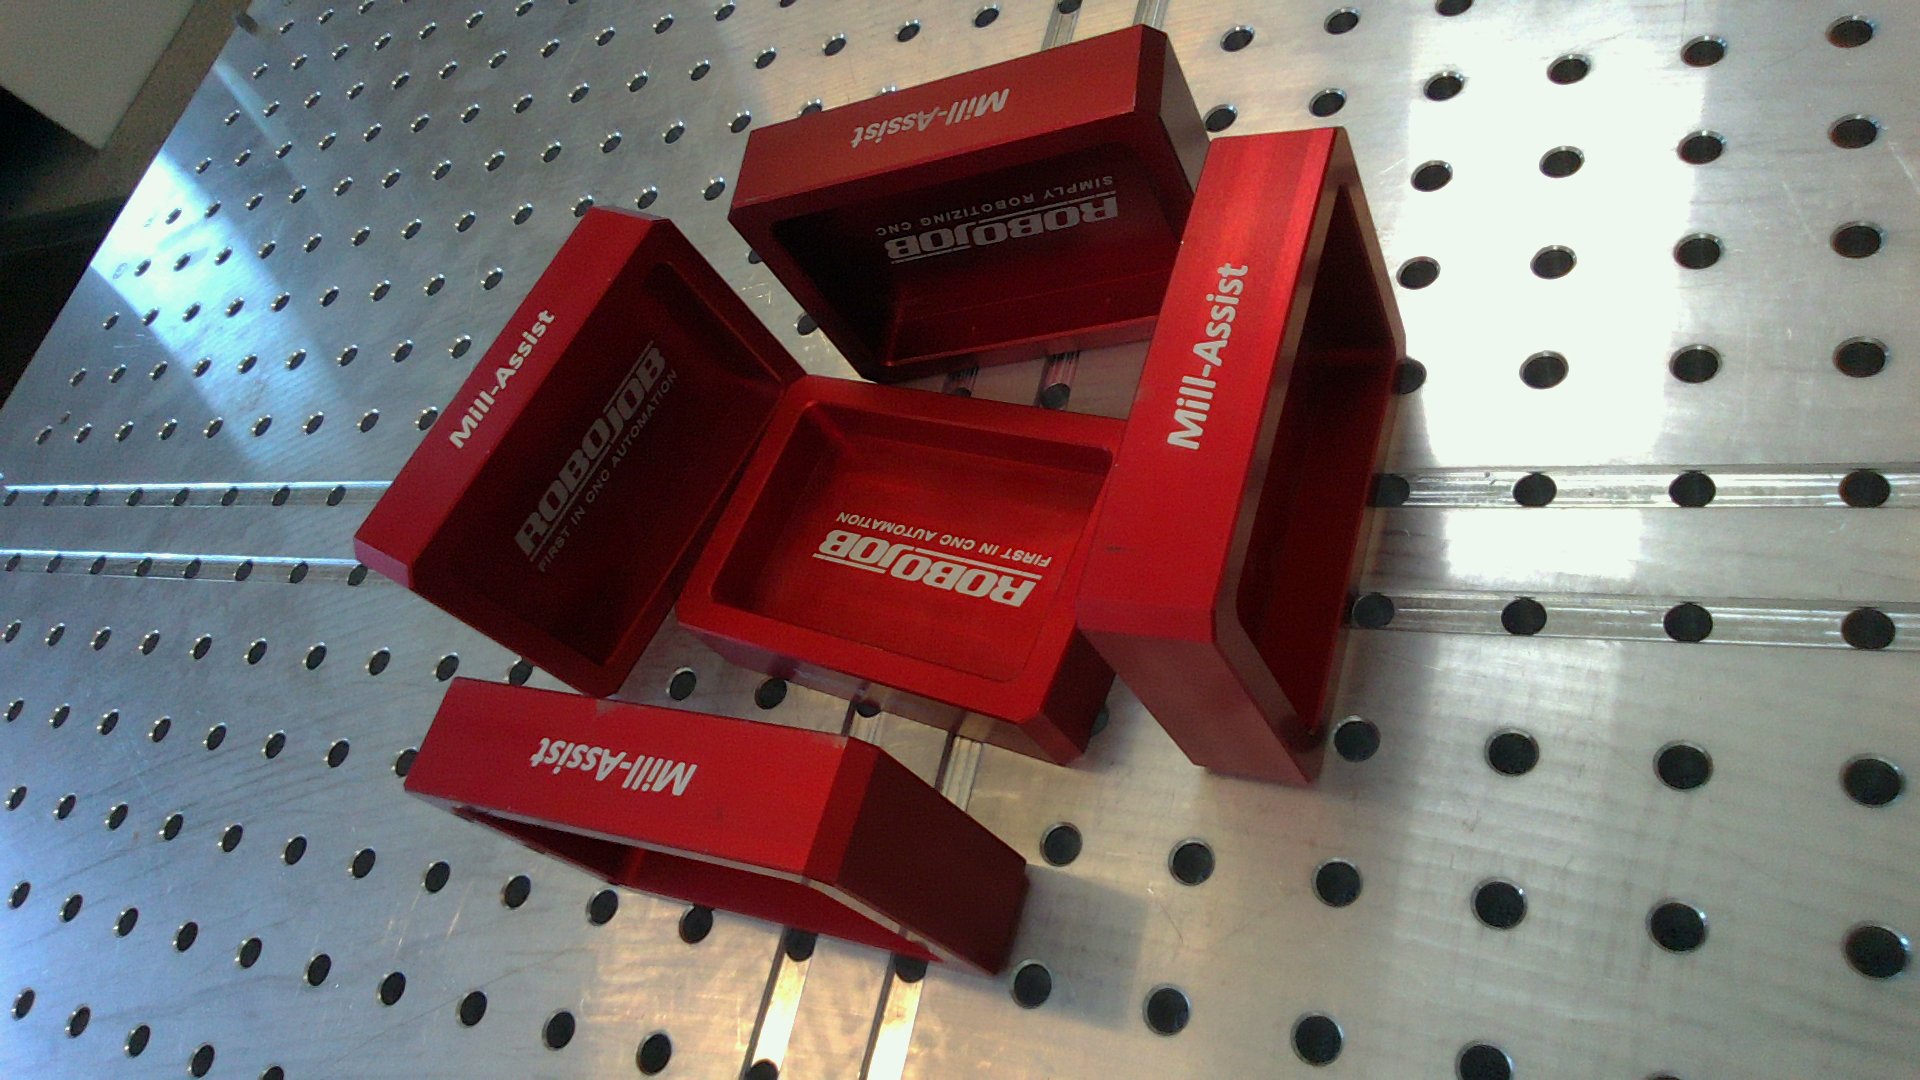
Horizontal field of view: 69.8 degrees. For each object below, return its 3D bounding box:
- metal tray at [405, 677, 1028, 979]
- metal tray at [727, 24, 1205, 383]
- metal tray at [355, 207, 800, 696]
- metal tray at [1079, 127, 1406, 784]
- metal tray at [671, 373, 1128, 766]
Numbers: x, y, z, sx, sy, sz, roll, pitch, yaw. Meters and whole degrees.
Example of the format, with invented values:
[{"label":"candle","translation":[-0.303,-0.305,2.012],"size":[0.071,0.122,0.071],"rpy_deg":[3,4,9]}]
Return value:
[{"label":"metal tray","translation":[-0.060,0.072,0.343],"size":[0.130,0.090,0.030],"rpy_deg":[3,63,30]},{"label":"metal tray","translation":[0.010,-0.092,0.406],"size":[0.130,0.090,0.030],"rpy_deg":[-6,59,25]},{"label":"metal tray","translation":[-0.112,-0.025,0.431],"size":[0.030,0.090,0.130],"rpy_deg":[19,72,36]},{"label":"metal tray","translation":[0.073,-0.019,0.327],"size":[0.030,0.090,0.130],"rpy_deg":[5,64,30]},{"label":"metal tray","translation":[-0.011,0.003,0.397],"size":[0.129,0.030,0.090],"rpy_deg":[12,68,33]}]
